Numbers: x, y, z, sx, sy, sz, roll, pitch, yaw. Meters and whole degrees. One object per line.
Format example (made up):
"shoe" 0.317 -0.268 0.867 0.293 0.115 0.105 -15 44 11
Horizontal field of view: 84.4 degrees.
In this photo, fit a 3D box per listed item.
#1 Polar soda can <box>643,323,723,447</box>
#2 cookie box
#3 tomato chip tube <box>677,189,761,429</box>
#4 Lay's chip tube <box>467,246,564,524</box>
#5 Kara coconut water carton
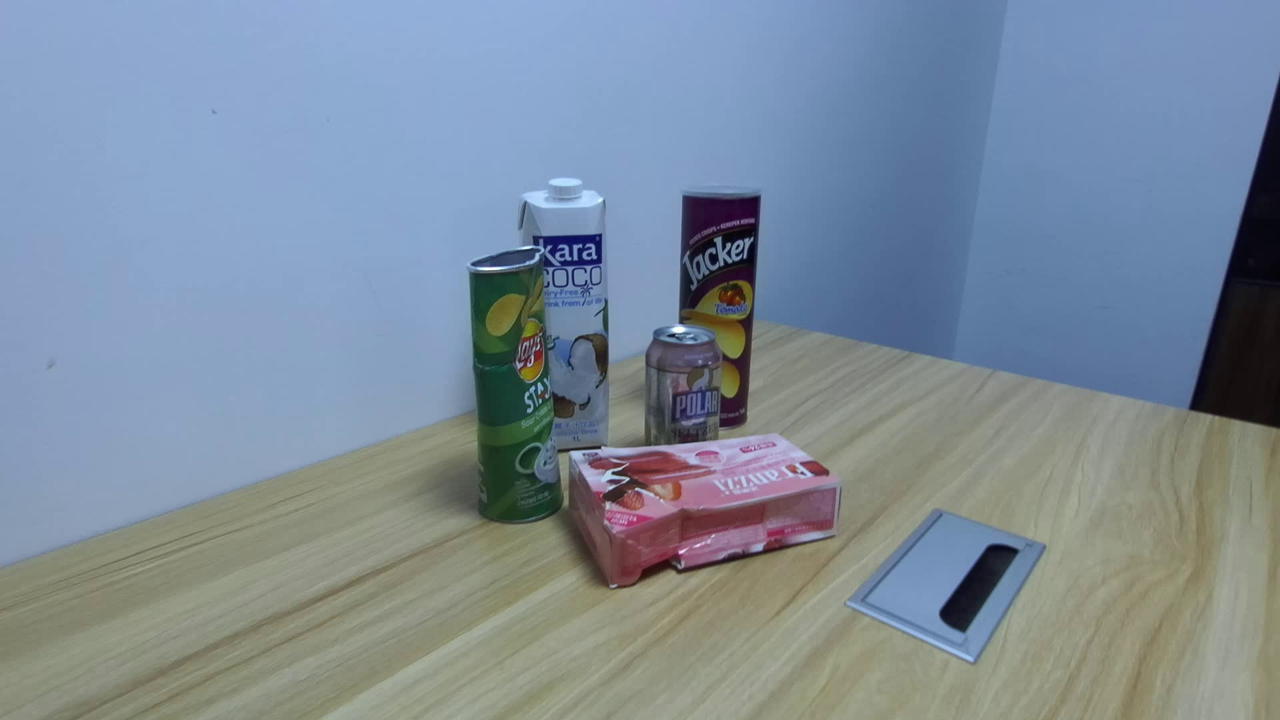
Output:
"Polar soda can" 0.038 0.035 0.621 0.067 0.125 0.067 1 18 0
"cookie box" 0.048 0.099 0.528 0.186 0.059 0.104 -6 22 -22
"tomato chip tube" 0.077 -0.050 0.704 0.078 0.234 0.078 1 16 0
"Lay's chip tube" -0.096 0.021 0.544 0.069 0.199 0.074 -7 19 -22
"Kara coconut water carton" -0.068 -0.041 0.652 0.077 0.245 0.075 -4 18 -11
